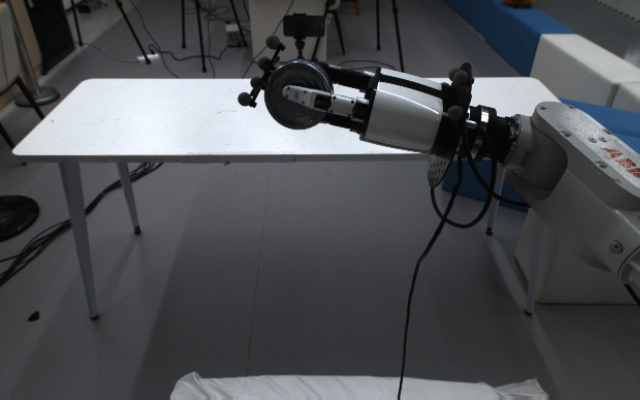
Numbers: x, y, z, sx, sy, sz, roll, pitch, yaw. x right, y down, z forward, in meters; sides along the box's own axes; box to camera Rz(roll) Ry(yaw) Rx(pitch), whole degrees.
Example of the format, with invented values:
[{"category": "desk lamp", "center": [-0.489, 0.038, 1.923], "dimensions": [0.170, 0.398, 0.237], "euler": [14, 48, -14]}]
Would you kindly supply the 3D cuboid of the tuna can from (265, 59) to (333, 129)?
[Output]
[{"category": "tuna can", "center": [-0.023, -0.131, 0.611], "dimensions": [0.085, 0.085, 0.034], "euler": [3, 21, 2]}]
